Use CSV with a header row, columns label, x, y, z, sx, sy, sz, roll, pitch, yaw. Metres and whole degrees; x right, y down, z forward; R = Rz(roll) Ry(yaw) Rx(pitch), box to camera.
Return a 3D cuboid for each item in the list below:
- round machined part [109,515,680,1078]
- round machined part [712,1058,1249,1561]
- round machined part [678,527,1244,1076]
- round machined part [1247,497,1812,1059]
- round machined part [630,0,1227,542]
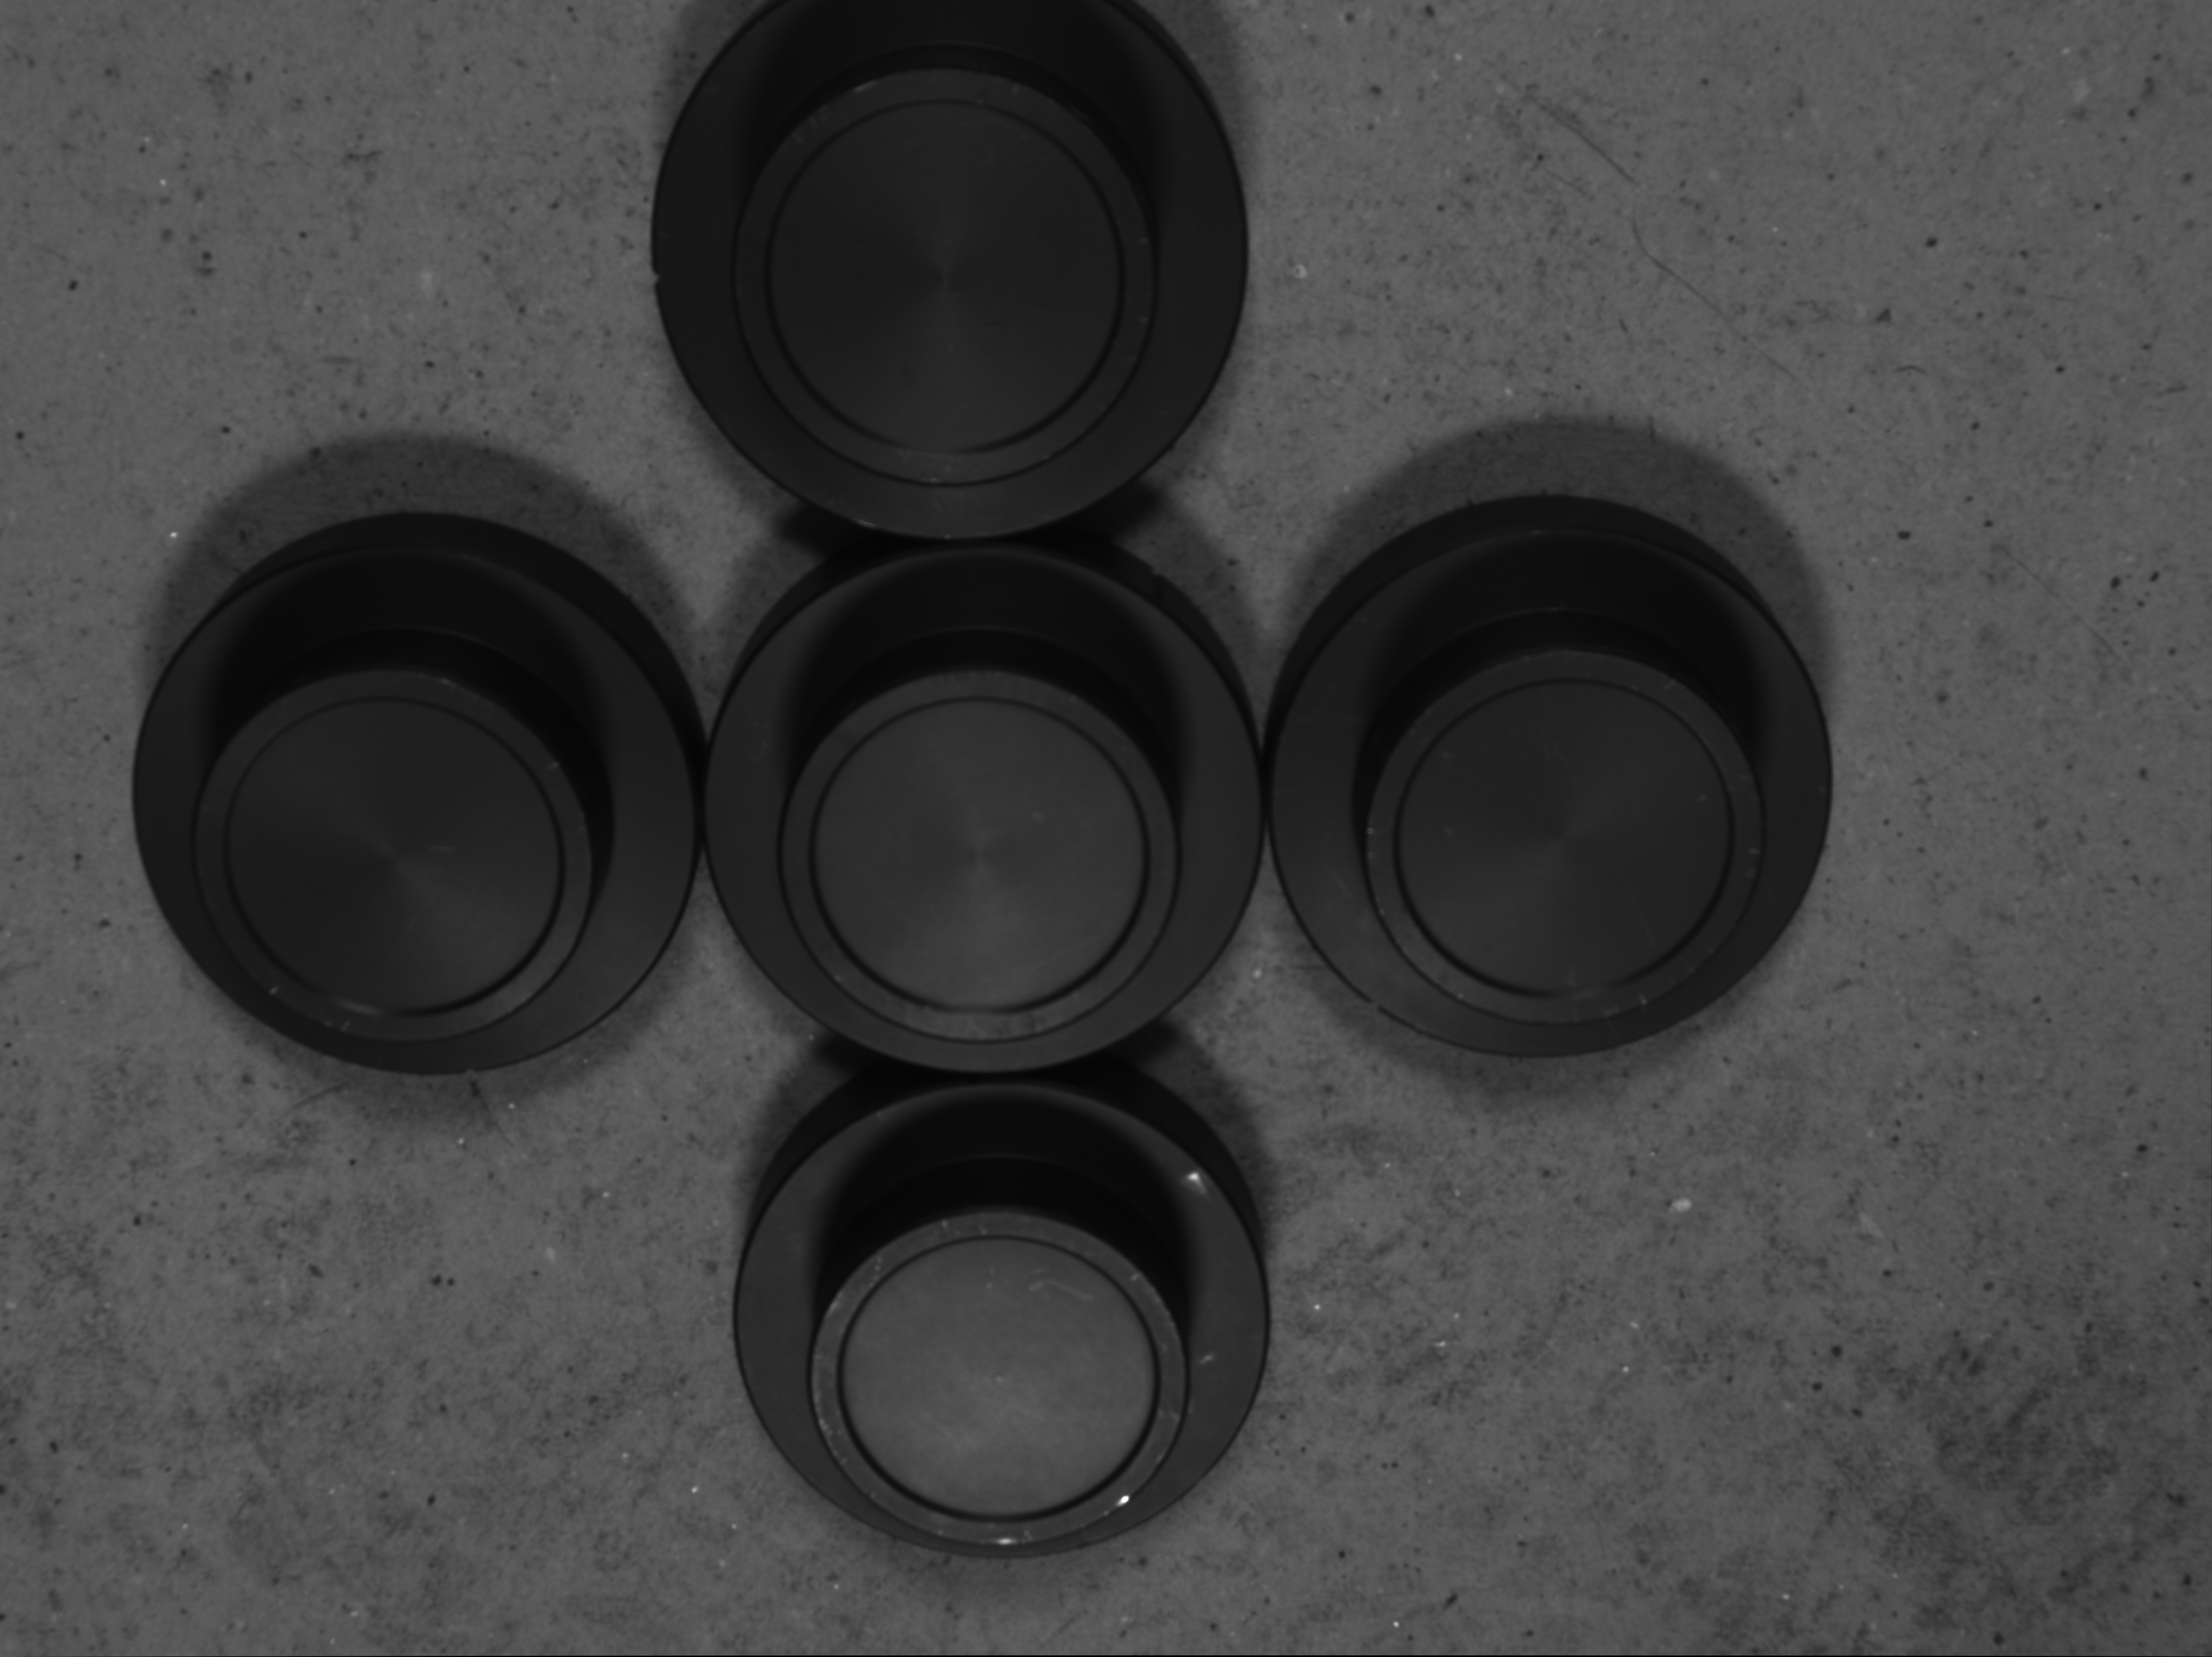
label,x,y,z,sx,sy,sz,roll,pitch,yaw
round machined part,-0.123,-0.001,0.632,0.098,0.042,0.098,0,110,-1
round machined part,-0.023,0.091,0.667,0.098,0.042,0.098,0,110,-1
round machined part,-0.025,-0.002,0.633,0.098,0.042,0.098,0,110,-1
round machined part,0.073,-0.005,0.634,0.098,0.042,0.098,0,110,-1
round machined part,-0.029,-0.094,0.600,0.098,0.042,0.098,0,110,-1
